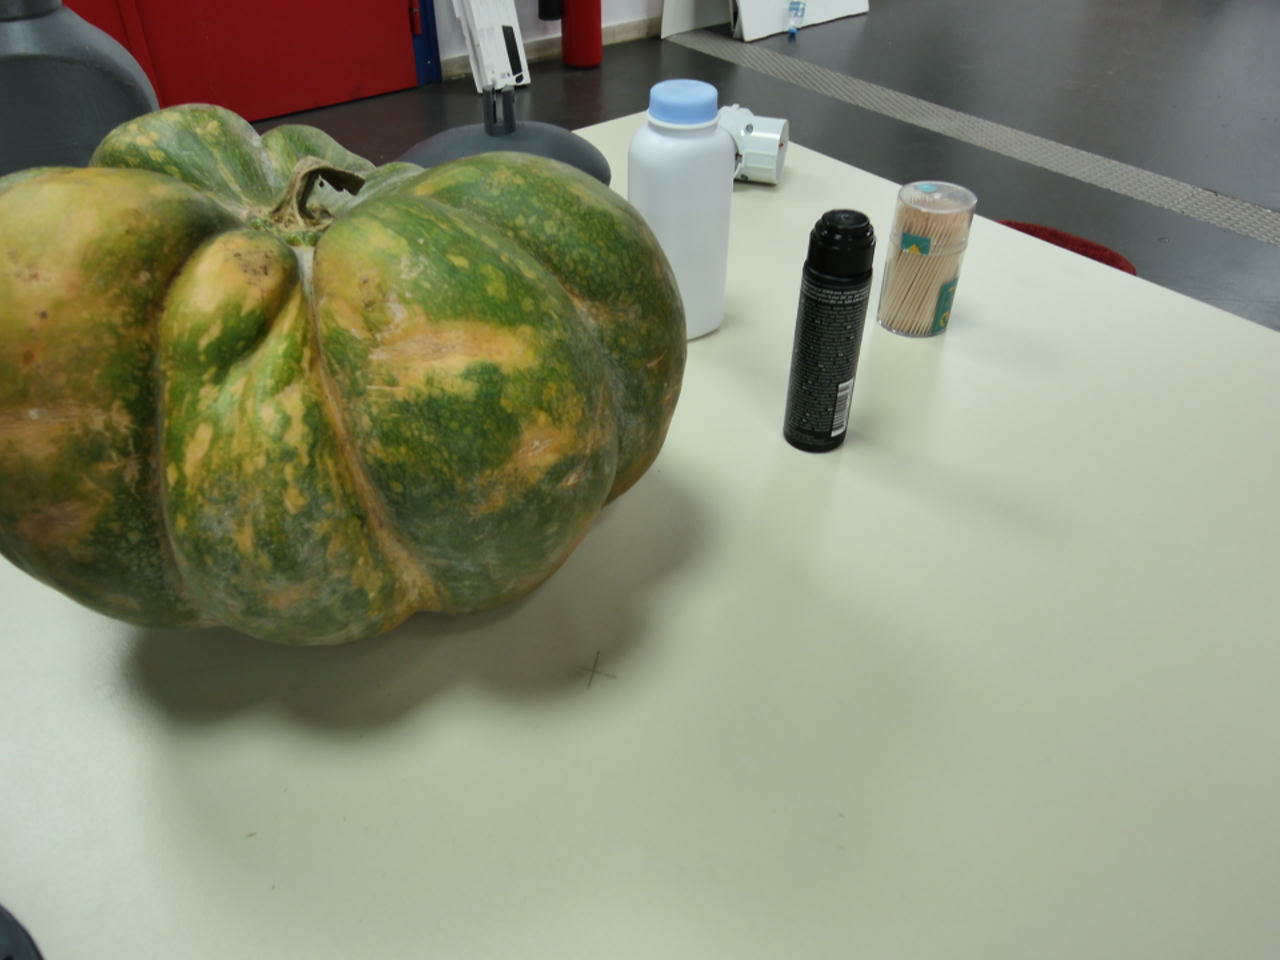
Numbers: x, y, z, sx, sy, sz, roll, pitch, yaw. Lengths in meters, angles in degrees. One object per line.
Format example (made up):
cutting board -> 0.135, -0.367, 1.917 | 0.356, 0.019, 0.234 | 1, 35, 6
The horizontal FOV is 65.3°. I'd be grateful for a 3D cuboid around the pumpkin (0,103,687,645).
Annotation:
pumpkin -> -0.120, -0.049, 0.375 | 0.270, 0.173, 0.237 | -2, 37, -2
